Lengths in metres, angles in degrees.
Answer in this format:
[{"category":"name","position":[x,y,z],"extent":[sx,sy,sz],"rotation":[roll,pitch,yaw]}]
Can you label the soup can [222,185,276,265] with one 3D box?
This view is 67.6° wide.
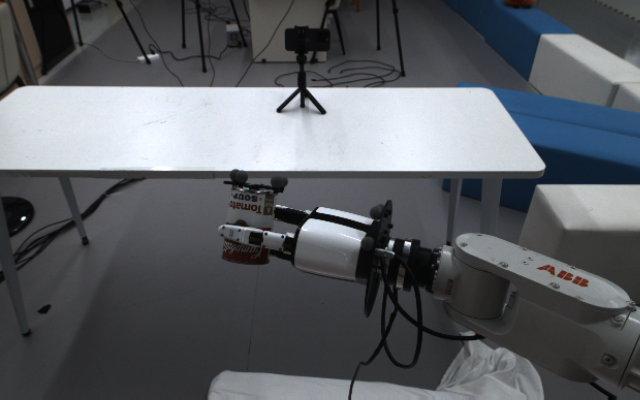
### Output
[{"category":"soup can","position":[-0.098,0.035,0.683],"extent":[0.067,0.101,0.067],"rotation":[7,4,0]}]
